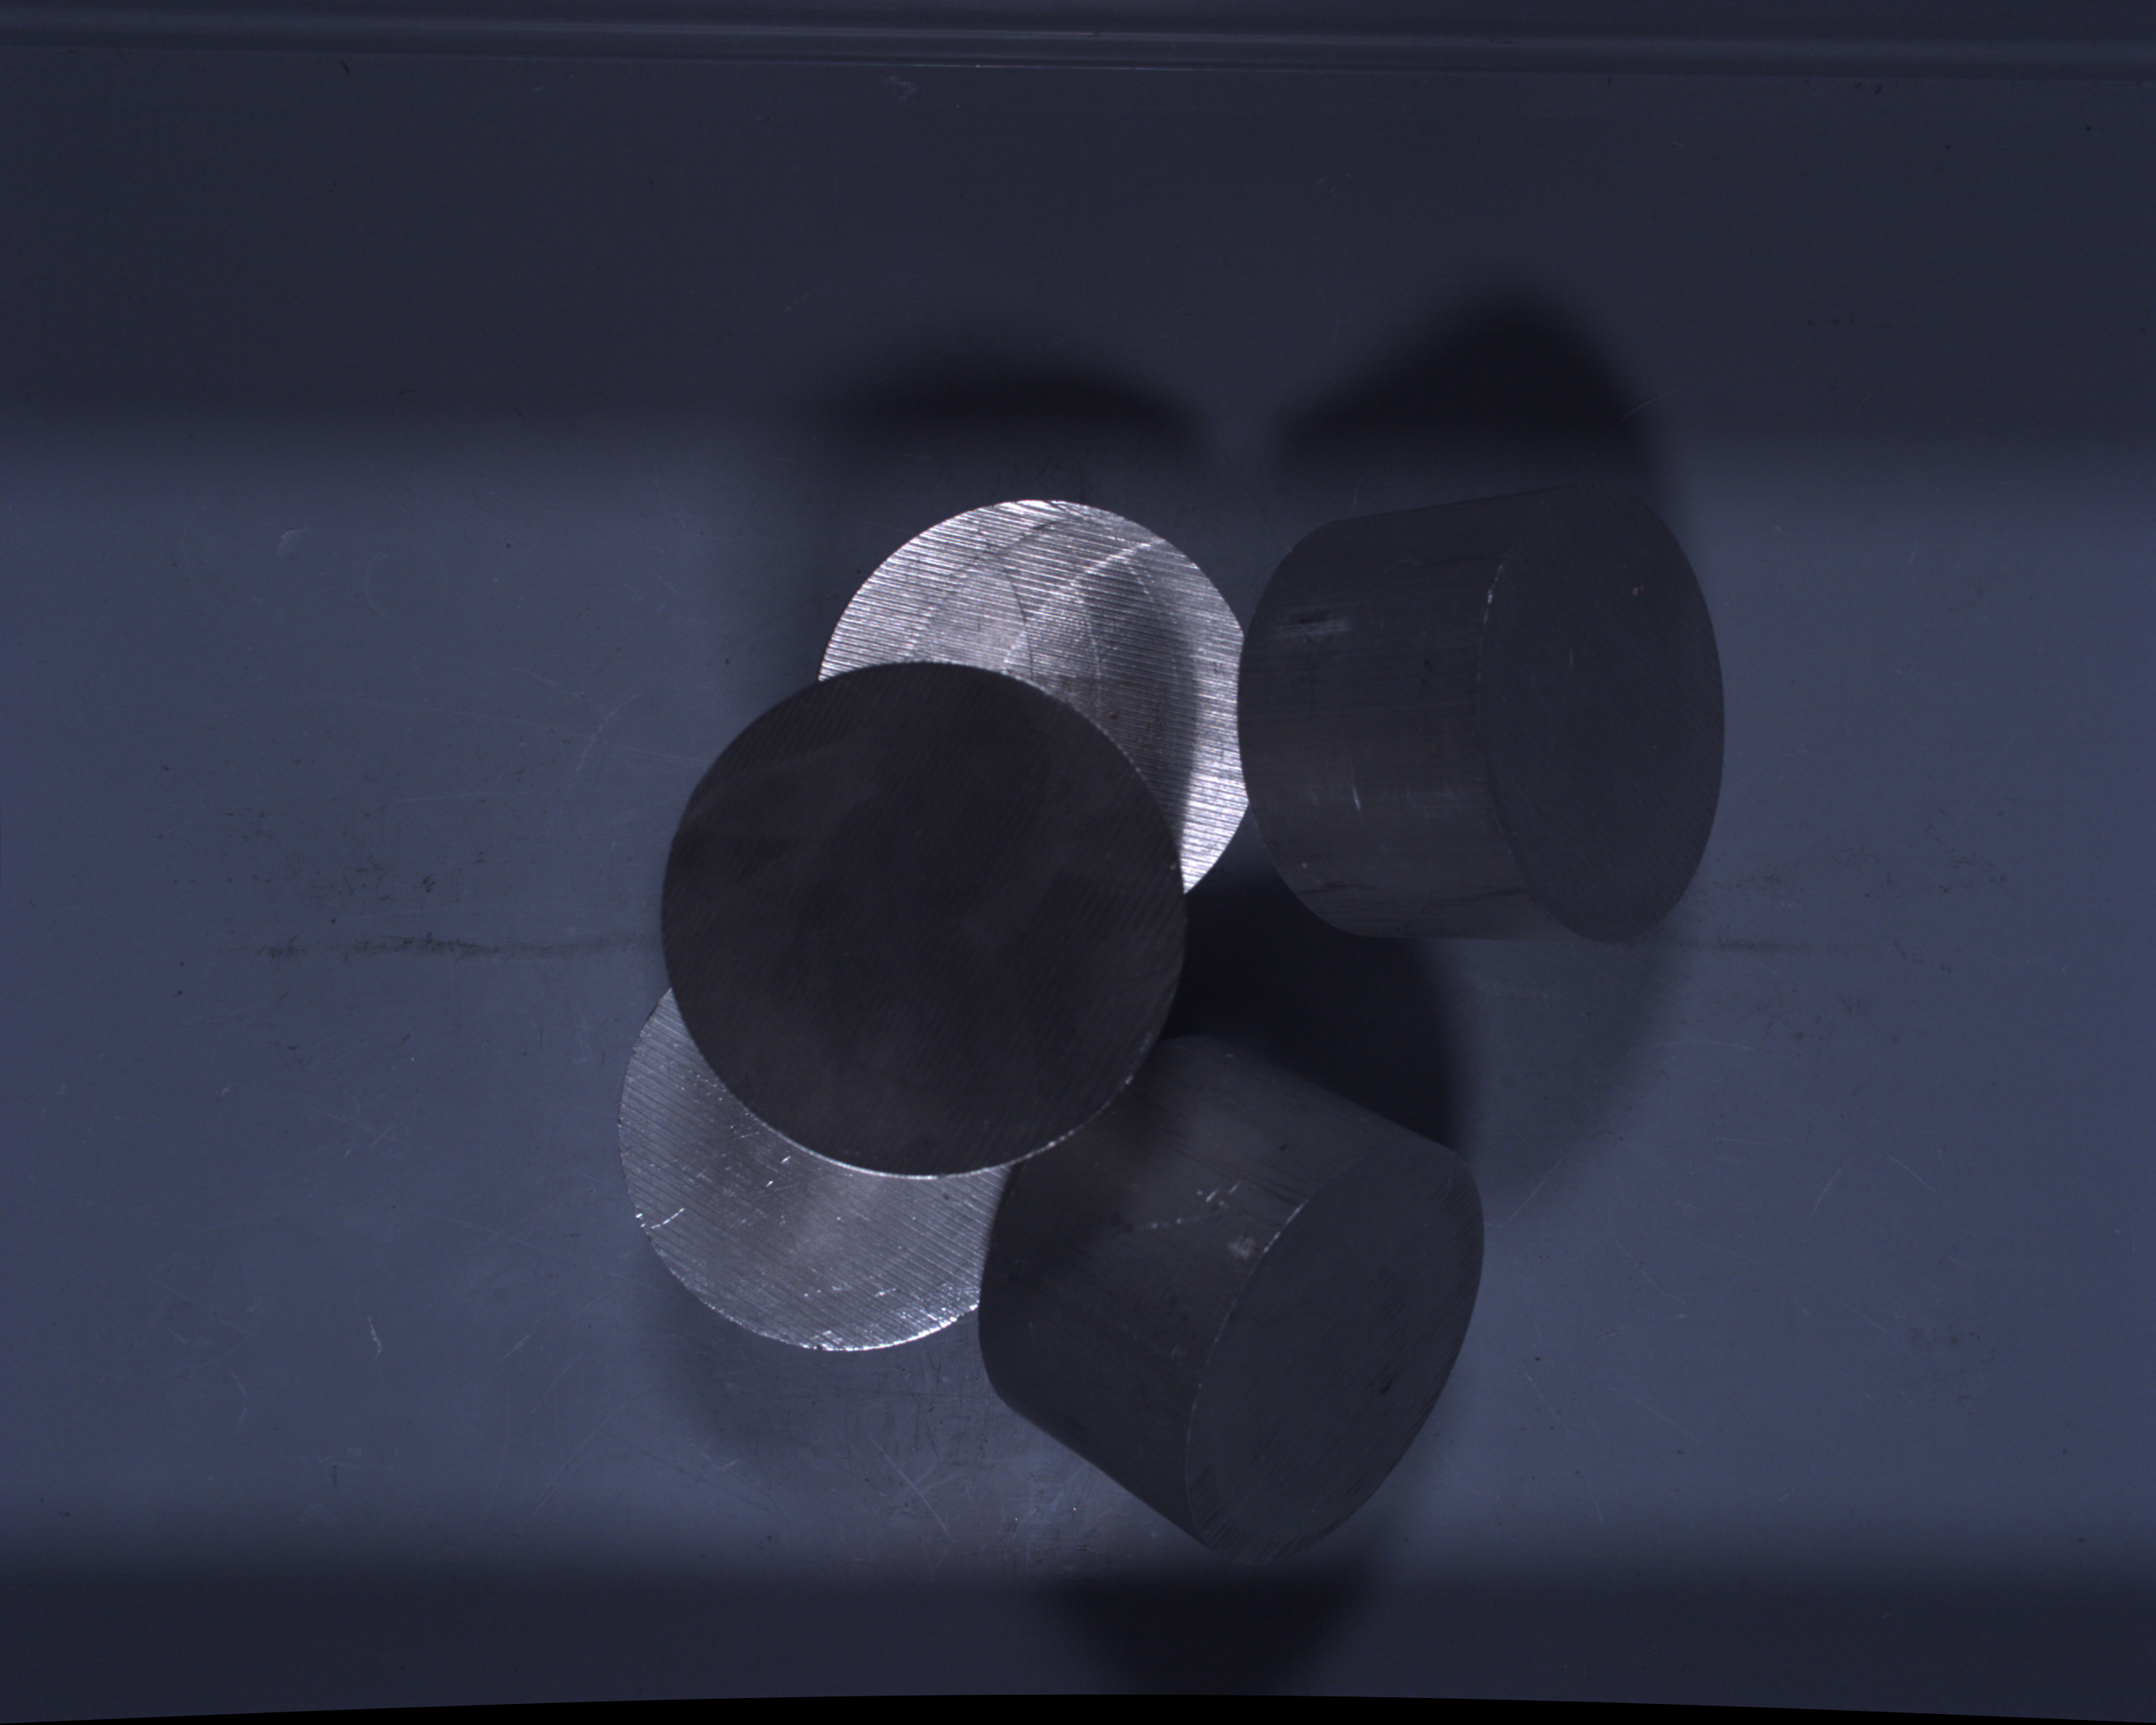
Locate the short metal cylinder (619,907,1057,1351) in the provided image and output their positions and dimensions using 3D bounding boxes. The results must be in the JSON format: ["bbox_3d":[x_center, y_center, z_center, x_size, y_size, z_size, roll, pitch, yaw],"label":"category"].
[{"bbox_3d":[-0.042,0.047,0.397,0.081,0.050,0.079,0,90,-1],"label":"short metal cylinder"}]

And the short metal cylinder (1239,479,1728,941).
[{"bbox_3d":[0.075,-0.026,0.378,0.081,0.050,0.079,2,88,-44],"label":"short metal cylinder"}]

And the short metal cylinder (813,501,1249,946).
[{"bbox_3d":[-0.007,-0.025,0.397,0.081,0.050,0.079,0,90,-1],"label":"short metal cylinder"}]

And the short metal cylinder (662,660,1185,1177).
[{"bbox_3d":[-0.024,0.008,0.346,0.081,0.050,0.079,0,90,-1],"label":"short metal cylinder"}]

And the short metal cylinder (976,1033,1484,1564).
[{"bbox_3d":[0.028,0.077,0.376,0.050,0.080,0.080,24,90,40],"label":"short metal cylinder"}]
